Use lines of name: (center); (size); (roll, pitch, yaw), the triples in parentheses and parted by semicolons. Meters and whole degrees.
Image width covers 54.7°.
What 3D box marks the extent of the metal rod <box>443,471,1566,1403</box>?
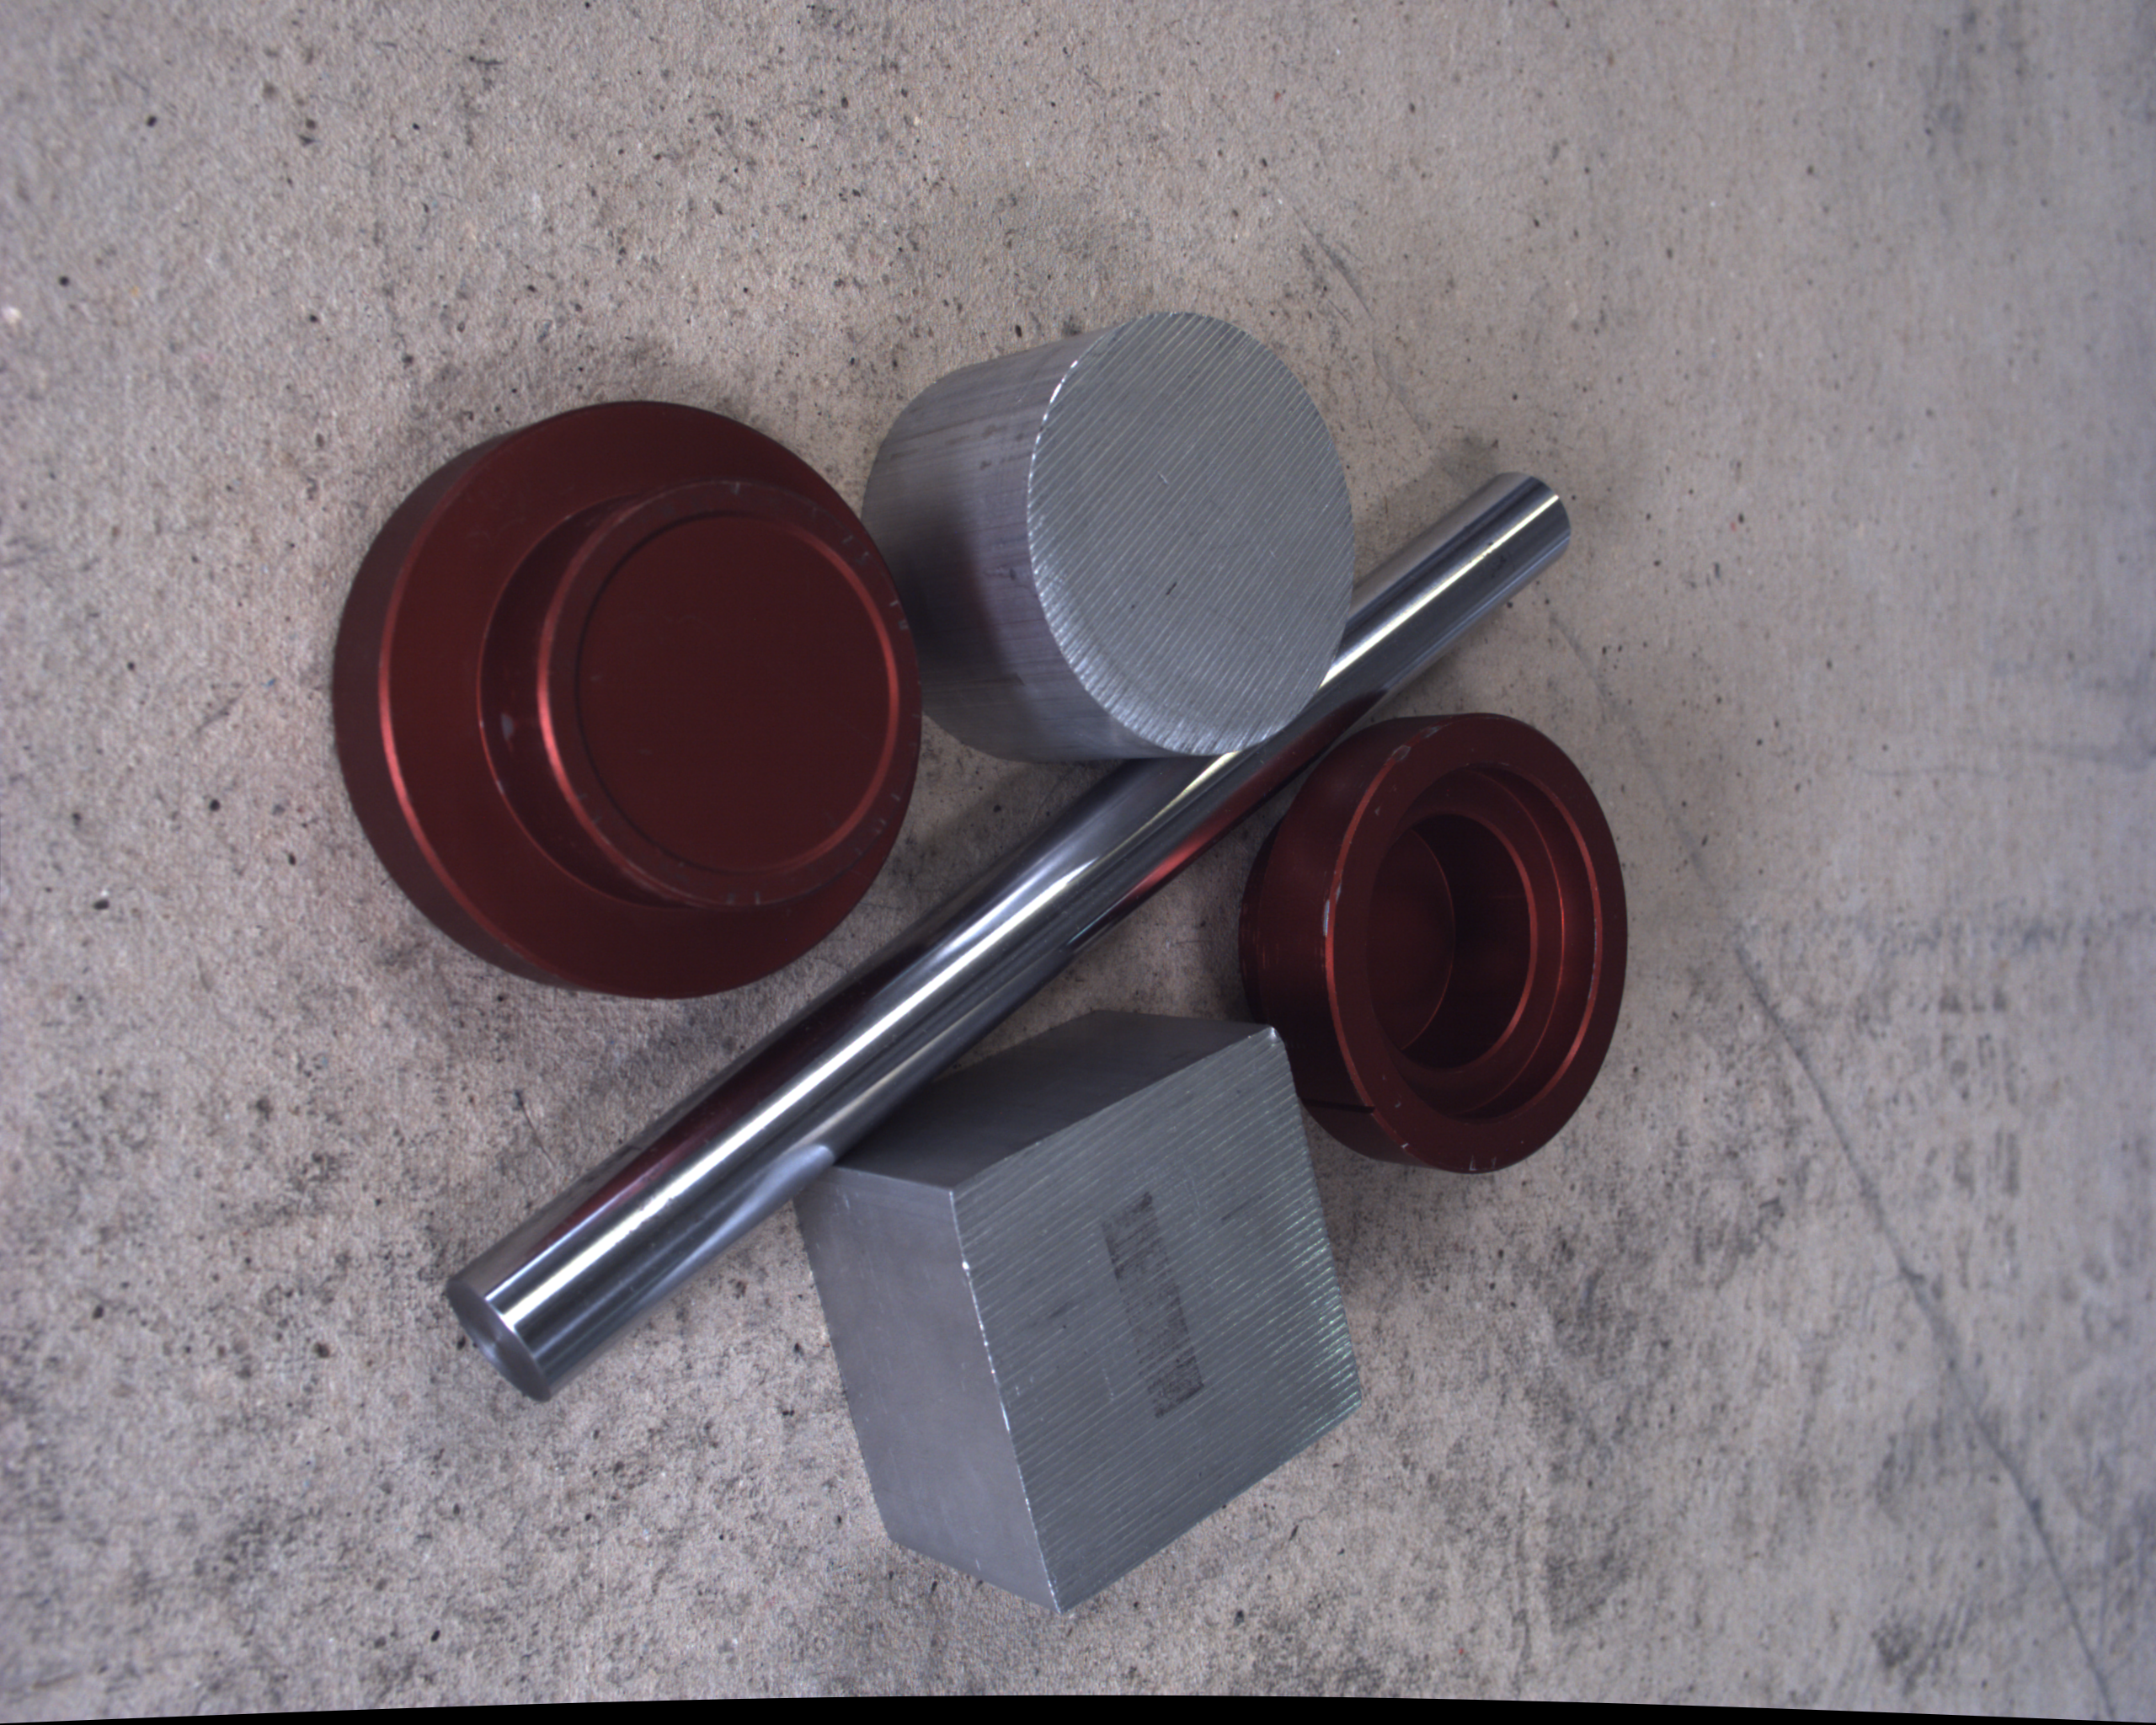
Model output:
metal rod: (0.006, -0.003, 0.413); (0.302, 0.025, 0.025); (-39, 114, -33)

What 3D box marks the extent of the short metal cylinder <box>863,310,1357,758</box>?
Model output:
short metal cylinder: (0.007, -0.059, 0.395); (0.081, 0.050, 0.079); (0, 90, -40)

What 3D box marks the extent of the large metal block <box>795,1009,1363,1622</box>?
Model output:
large metal block: (0.001, 0.079, 0.392); (0.081, 0.050, 0.080); (-22, 104, -38)

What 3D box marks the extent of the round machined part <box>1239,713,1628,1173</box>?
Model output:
round machined part: (0.074, 0.017, 0.457); (0.099, 0.042, 0.097); (0, 90, -40)

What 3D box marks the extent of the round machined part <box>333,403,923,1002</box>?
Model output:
round machined part: (-0.065, -0.026, 0.340); (0.099, 0.042, 0.097); (0, 90, -40)
